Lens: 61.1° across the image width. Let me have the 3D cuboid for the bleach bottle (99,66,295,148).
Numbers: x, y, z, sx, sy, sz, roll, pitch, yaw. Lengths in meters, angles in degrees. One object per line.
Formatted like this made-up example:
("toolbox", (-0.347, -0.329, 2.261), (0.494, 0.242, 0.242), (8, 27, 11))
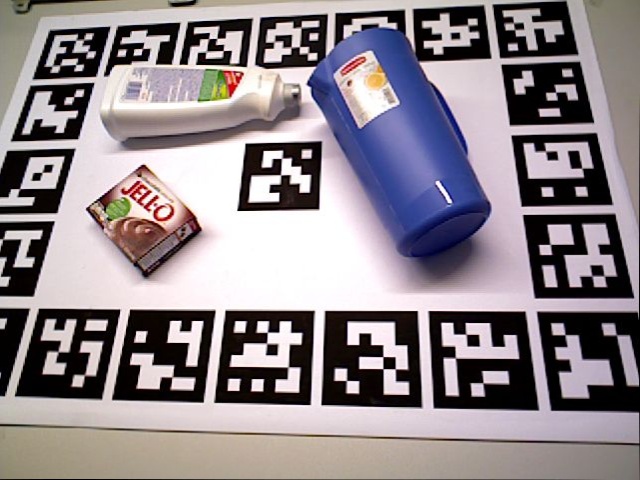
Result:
("bleach bottle", (-0.157, -0.179, 0.701), (0.250, 0.069, 0.102), (-3, 69, 3))

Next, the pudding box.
("pudding box", (-0.220, -0.019, 0.642), (0.088, 0.039, 0.113), (-39, 68, -18))

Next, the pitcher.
("pitcher", (0.097, -0.094, 0.614), (0.185, 0.137, 0.241), (-8, 64, -37))
